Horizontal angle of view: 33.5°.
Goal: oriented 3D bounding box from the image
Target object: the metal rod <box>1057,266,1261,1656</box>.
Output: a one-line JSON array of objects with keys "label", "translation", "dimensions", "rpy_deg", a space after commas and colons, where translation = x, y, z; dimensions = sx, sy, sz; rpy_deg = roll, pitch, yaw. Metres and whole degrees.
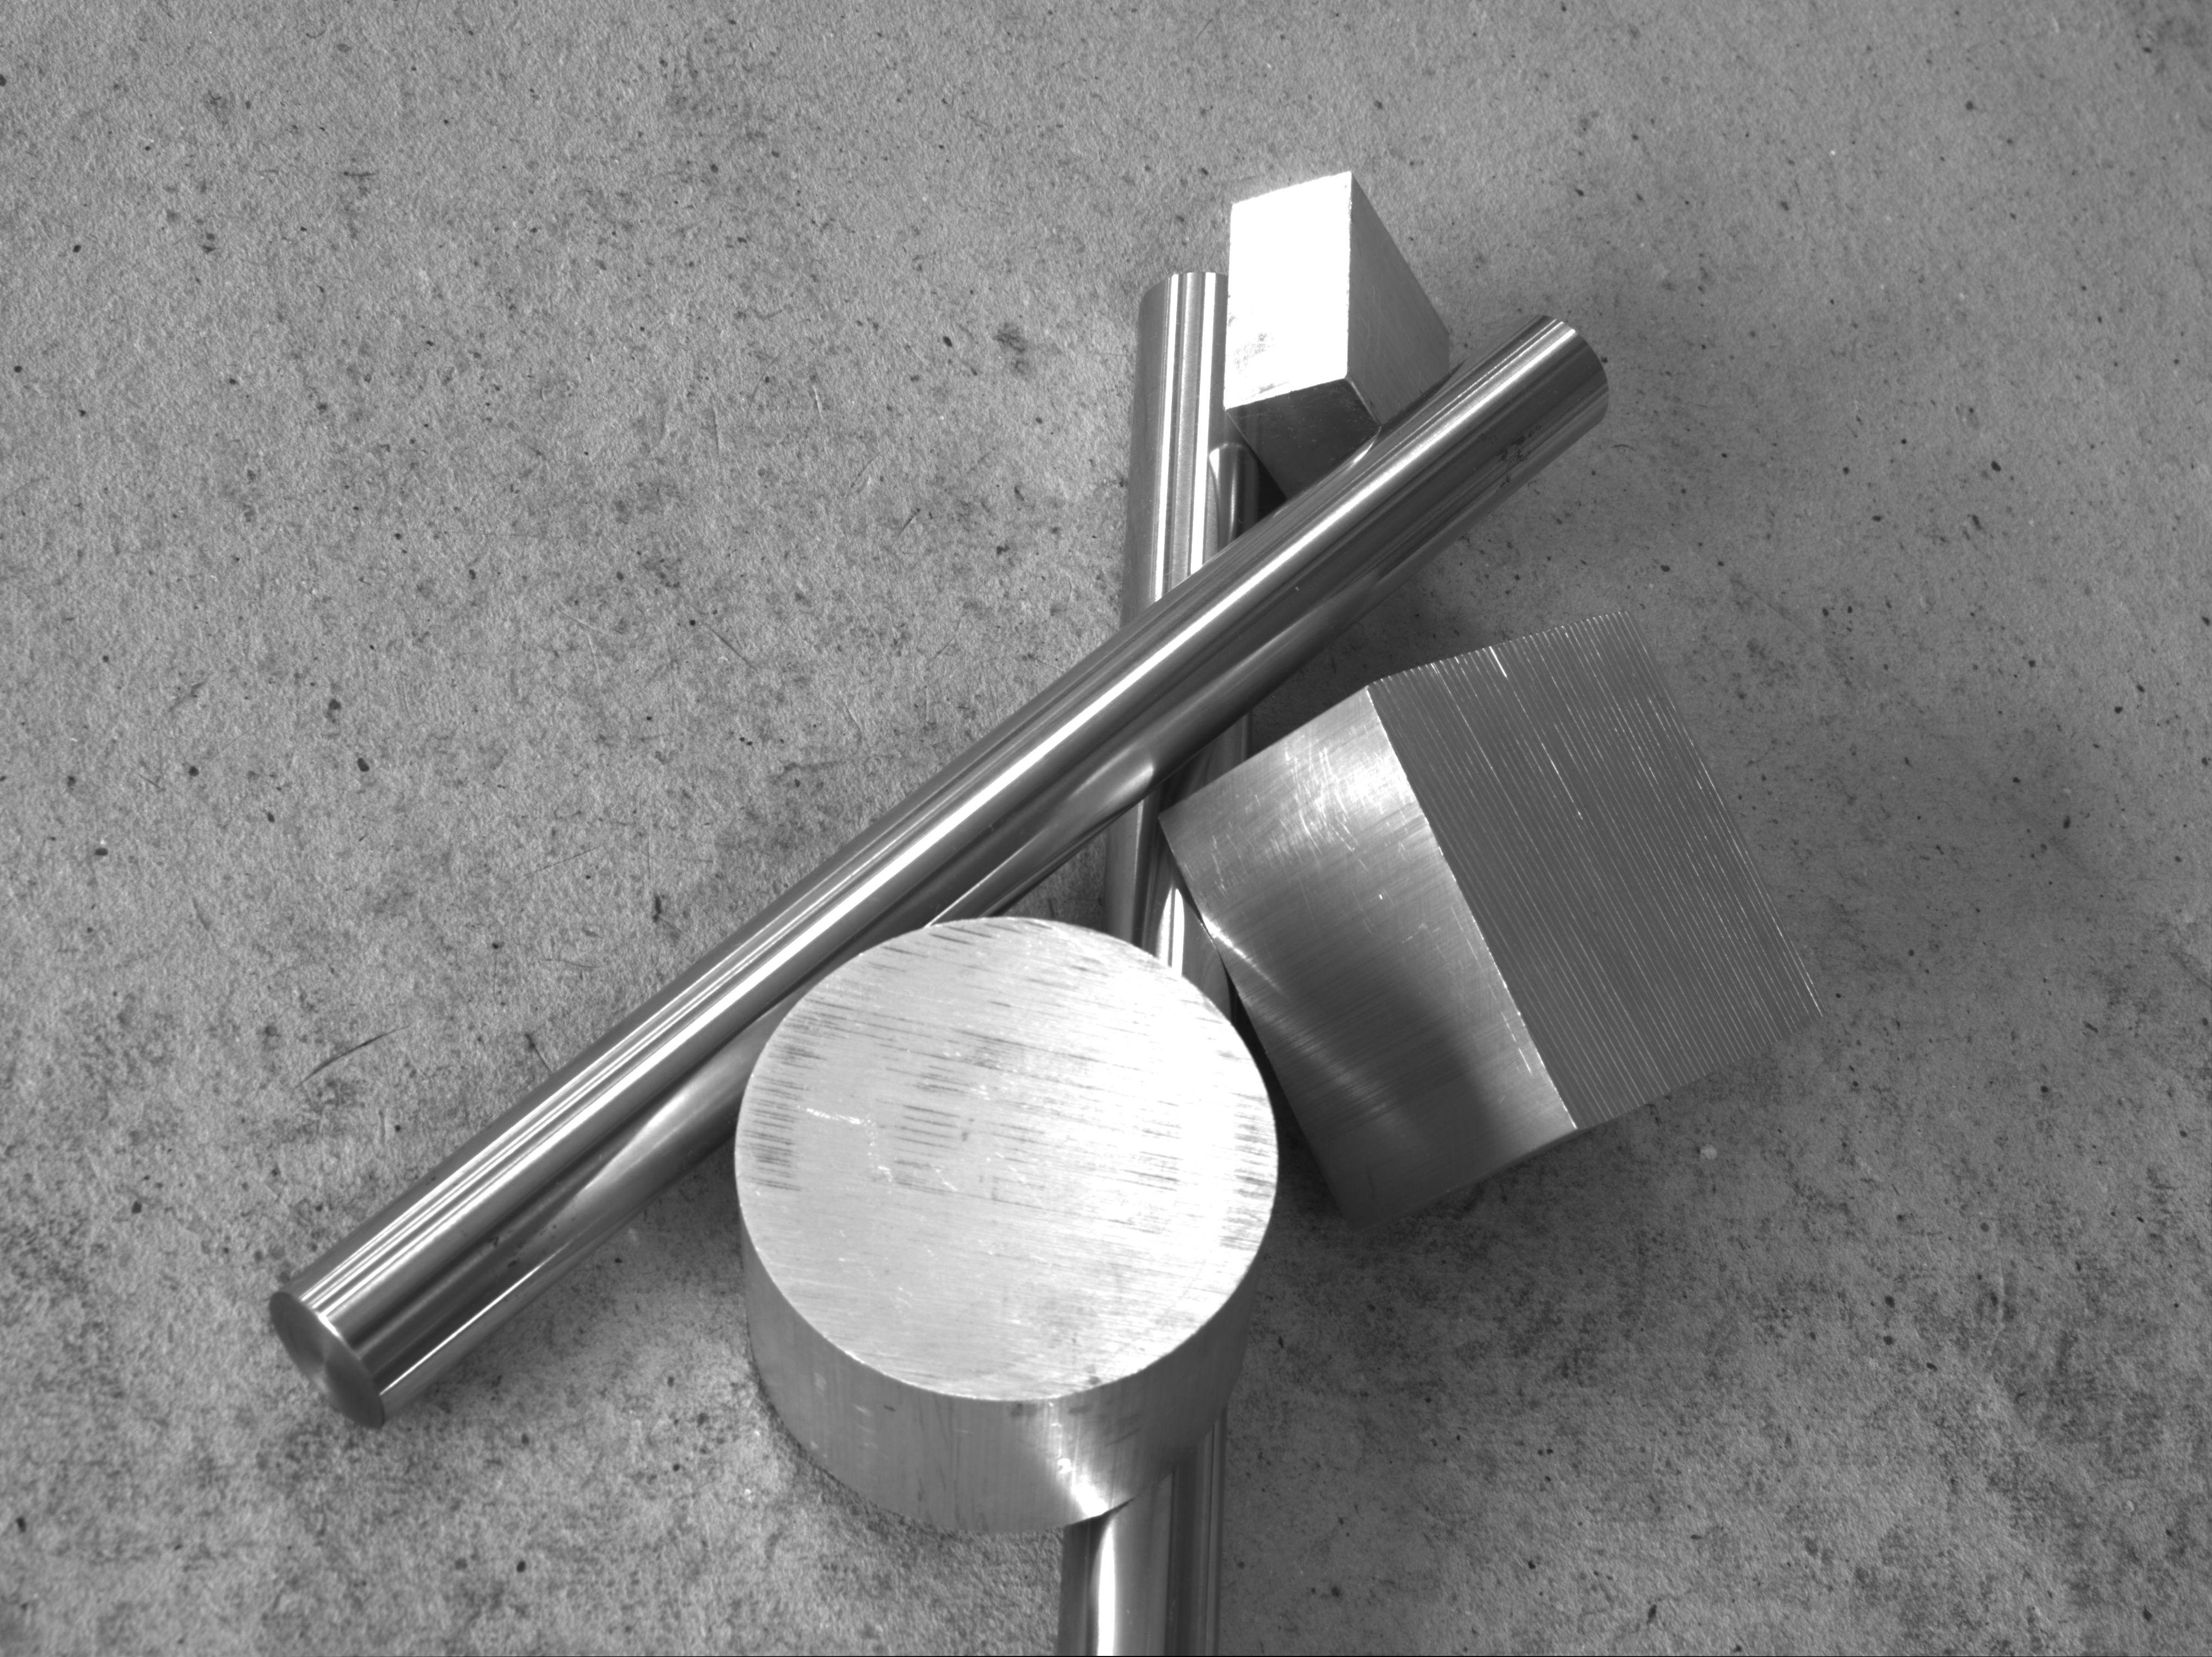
[{"label": "metal rod", "translation": [0.011, 0.026, 0.629], "dimensions": [0.025, 0.025, 0.300], "rpy_deg": [16, 55, -19]}]

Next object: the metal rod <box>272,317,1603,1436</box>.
[{"label": "metal rod", "translation": [-0.015, -0.004, 0.612], "dimensions": [0.025, 0.025, 0.301], "rpy_deg": [47, 58, 5]}]

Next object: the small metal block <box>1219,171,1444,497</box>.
[{"label": "small metal block", "translation": [0.044, -0.088, 0.701], "dimensions": [0.050, 0.025, 0.050], "rpy_deg": [49, 35, -48]}]

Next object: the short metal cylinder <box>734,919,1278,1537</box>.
[{"label": "short metal cylinder", "translation": [-0.016, 0.061, 0.562], "dimensions": [0.080, 0.050, 0.080], "rpy_deg": [2, 57, -3]}]

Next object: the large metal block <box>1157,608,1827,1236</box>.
[{"label": "large metal block", "translation": [0.067, 0.015, 0.632], "dimensions": [0.080, 0.050, 0.080], "rpy_deg": [-17, 79, -48]}]
